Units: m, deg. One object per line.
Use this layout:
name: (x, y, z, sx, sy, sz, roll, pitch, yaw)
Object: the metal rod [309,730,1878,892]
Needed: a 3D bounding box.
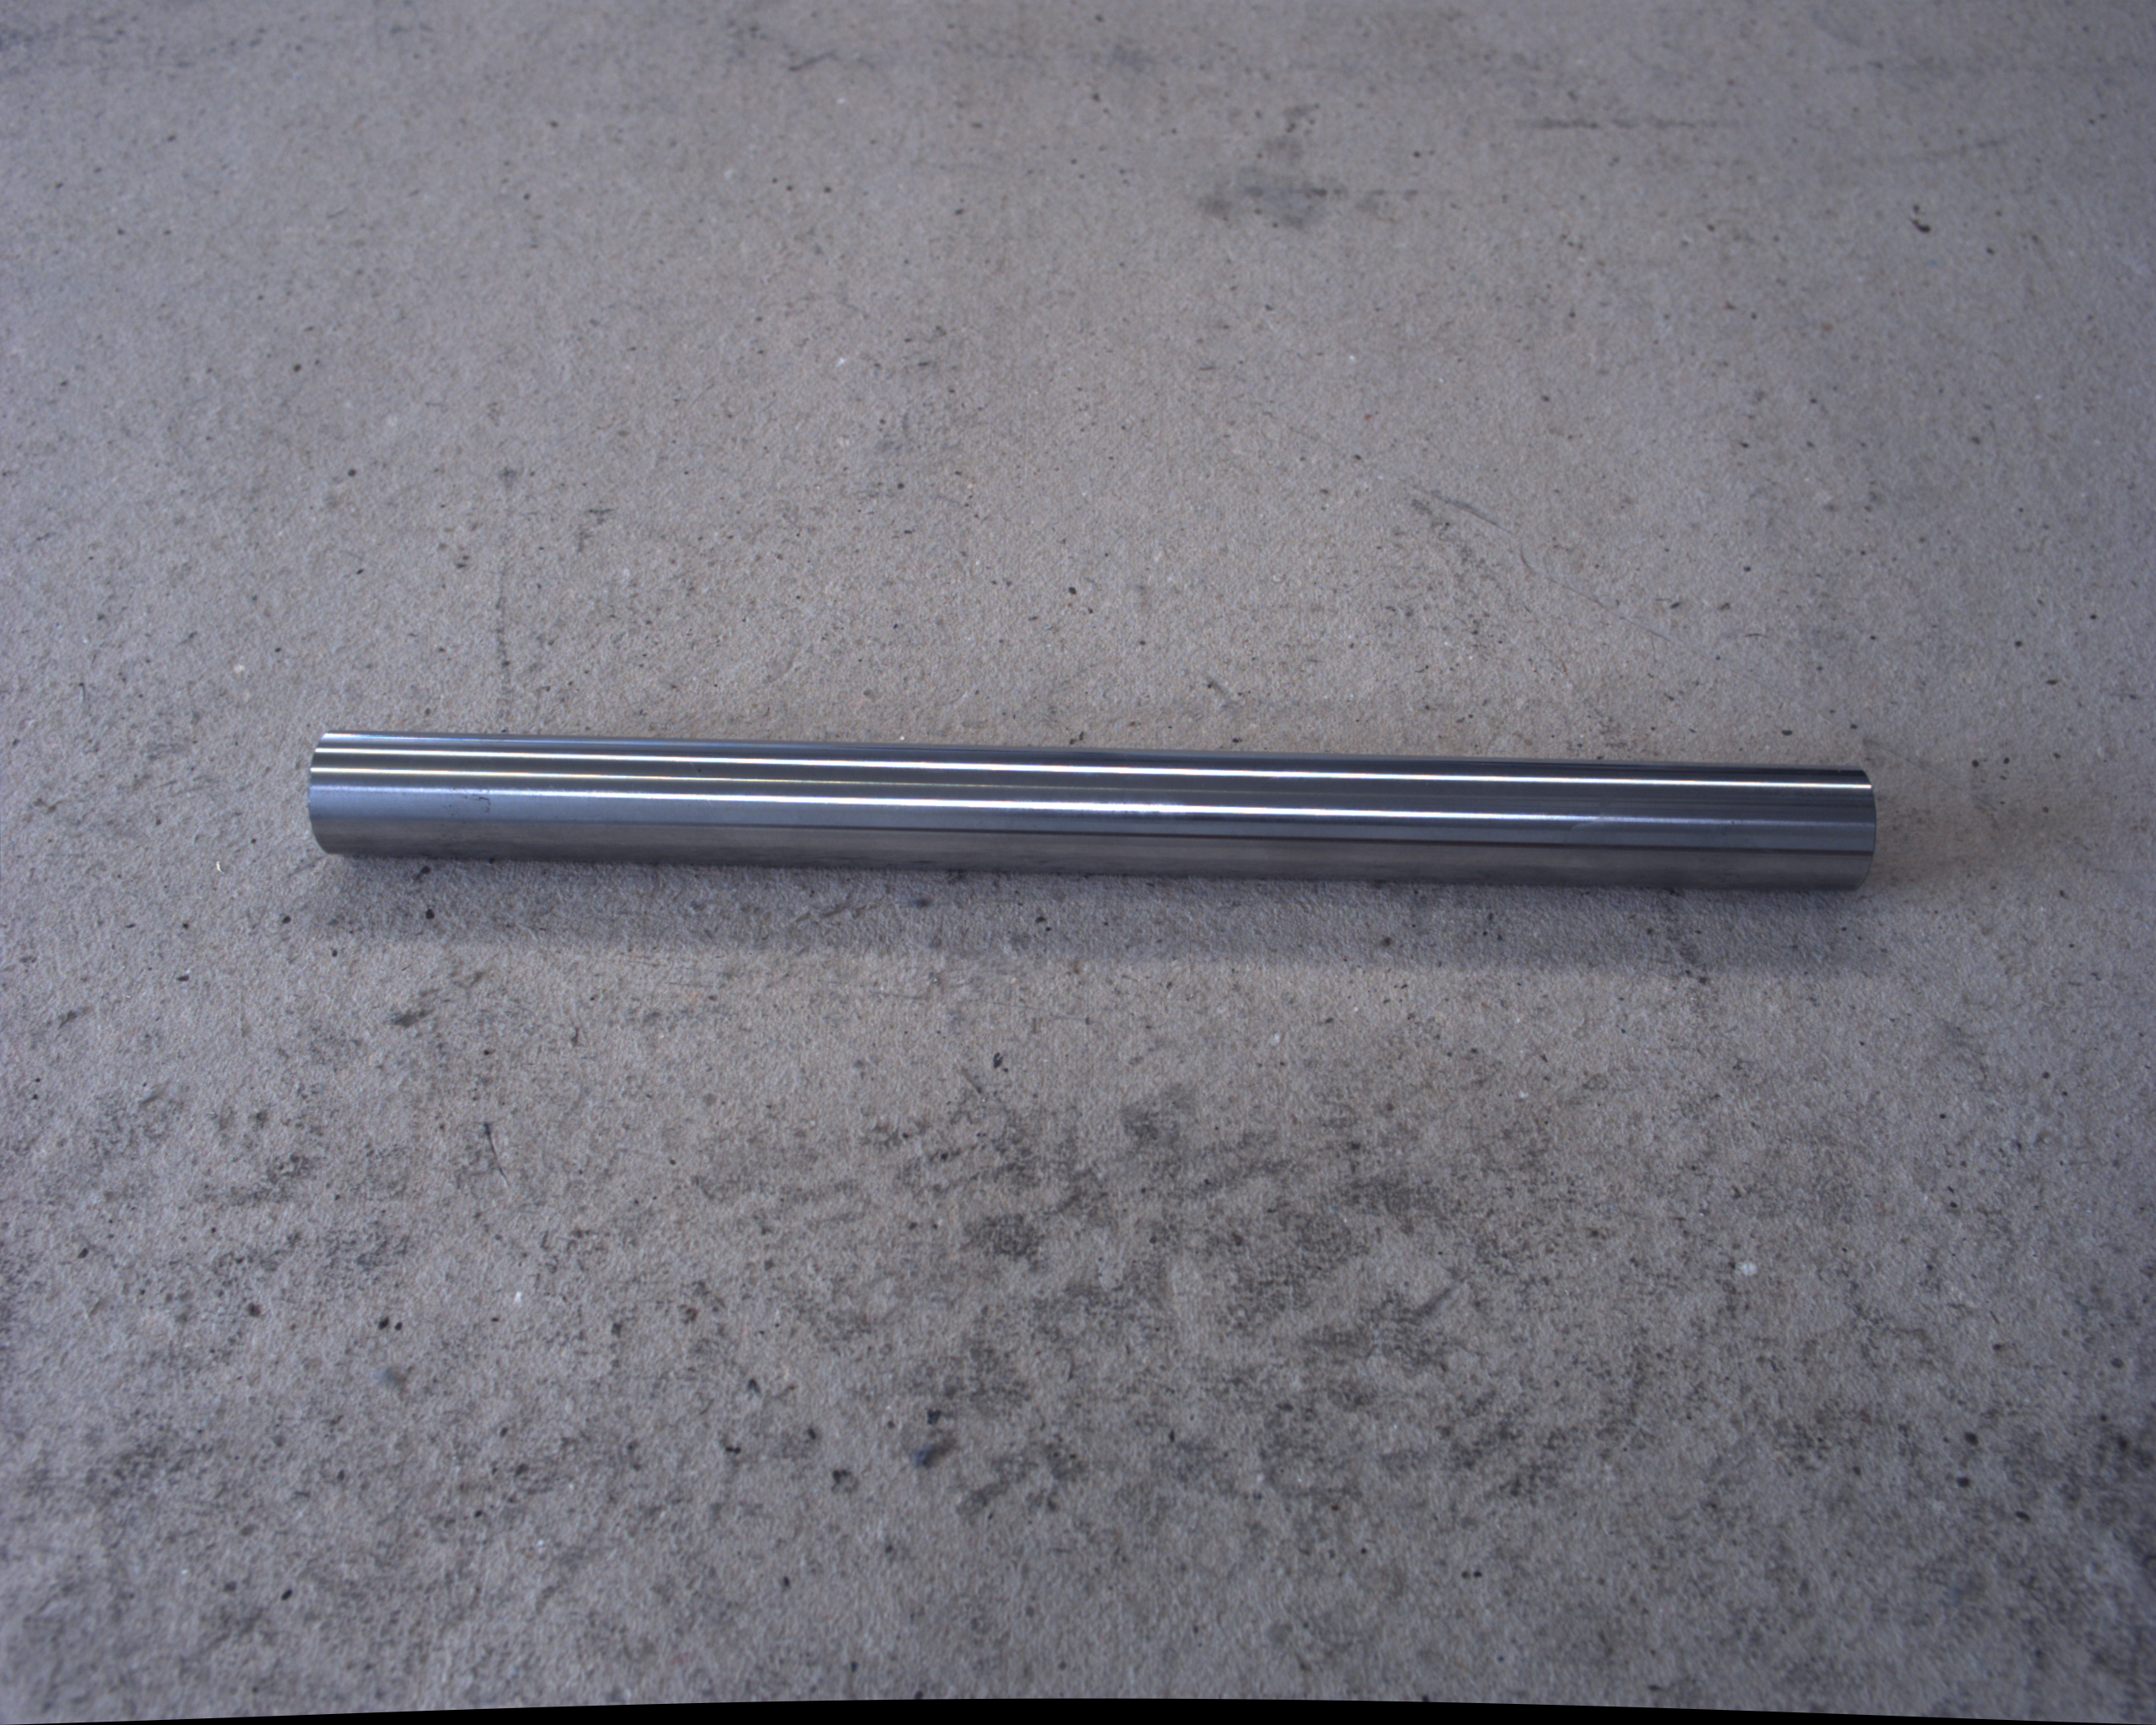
metal rod: (0.002, -0.010, 0.414, 0.302, 0.025, 0.025, 1, 50, 1)
